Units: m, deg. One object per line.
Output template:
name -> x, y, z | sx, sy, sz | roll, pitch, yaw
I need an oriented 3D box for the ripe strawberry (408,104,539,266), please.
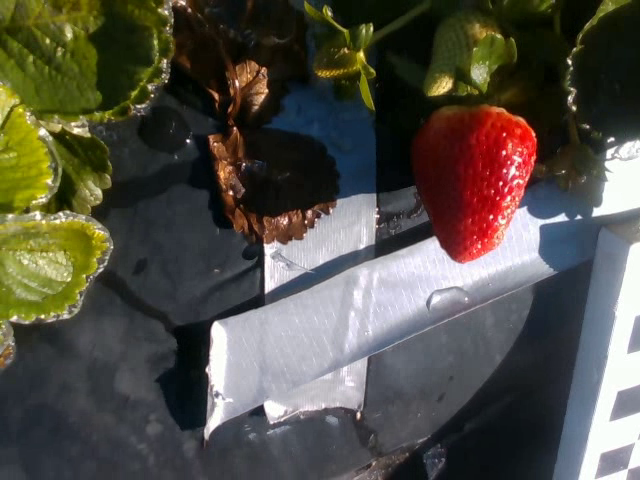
ripe strawberry -> 0.067, -0.018, 0.238 | 0.061, 0.065, 0.057 | 17, -22, -27
